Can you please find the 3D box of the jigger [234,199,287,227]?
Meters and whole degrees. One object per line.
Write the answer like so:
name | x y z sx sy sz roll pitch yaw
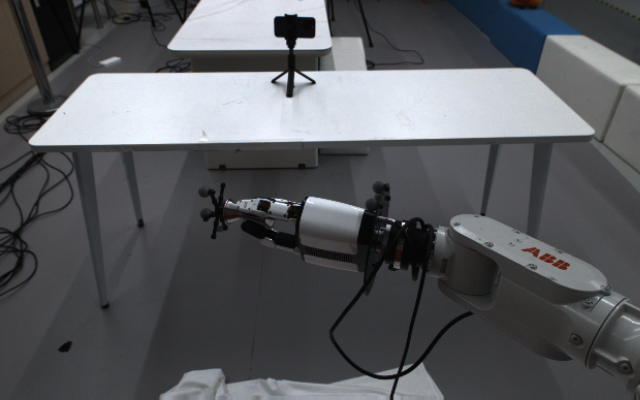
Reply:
jigger | -0.100 0.017 0.733 0.071 0.043 0.043 4 34 14
